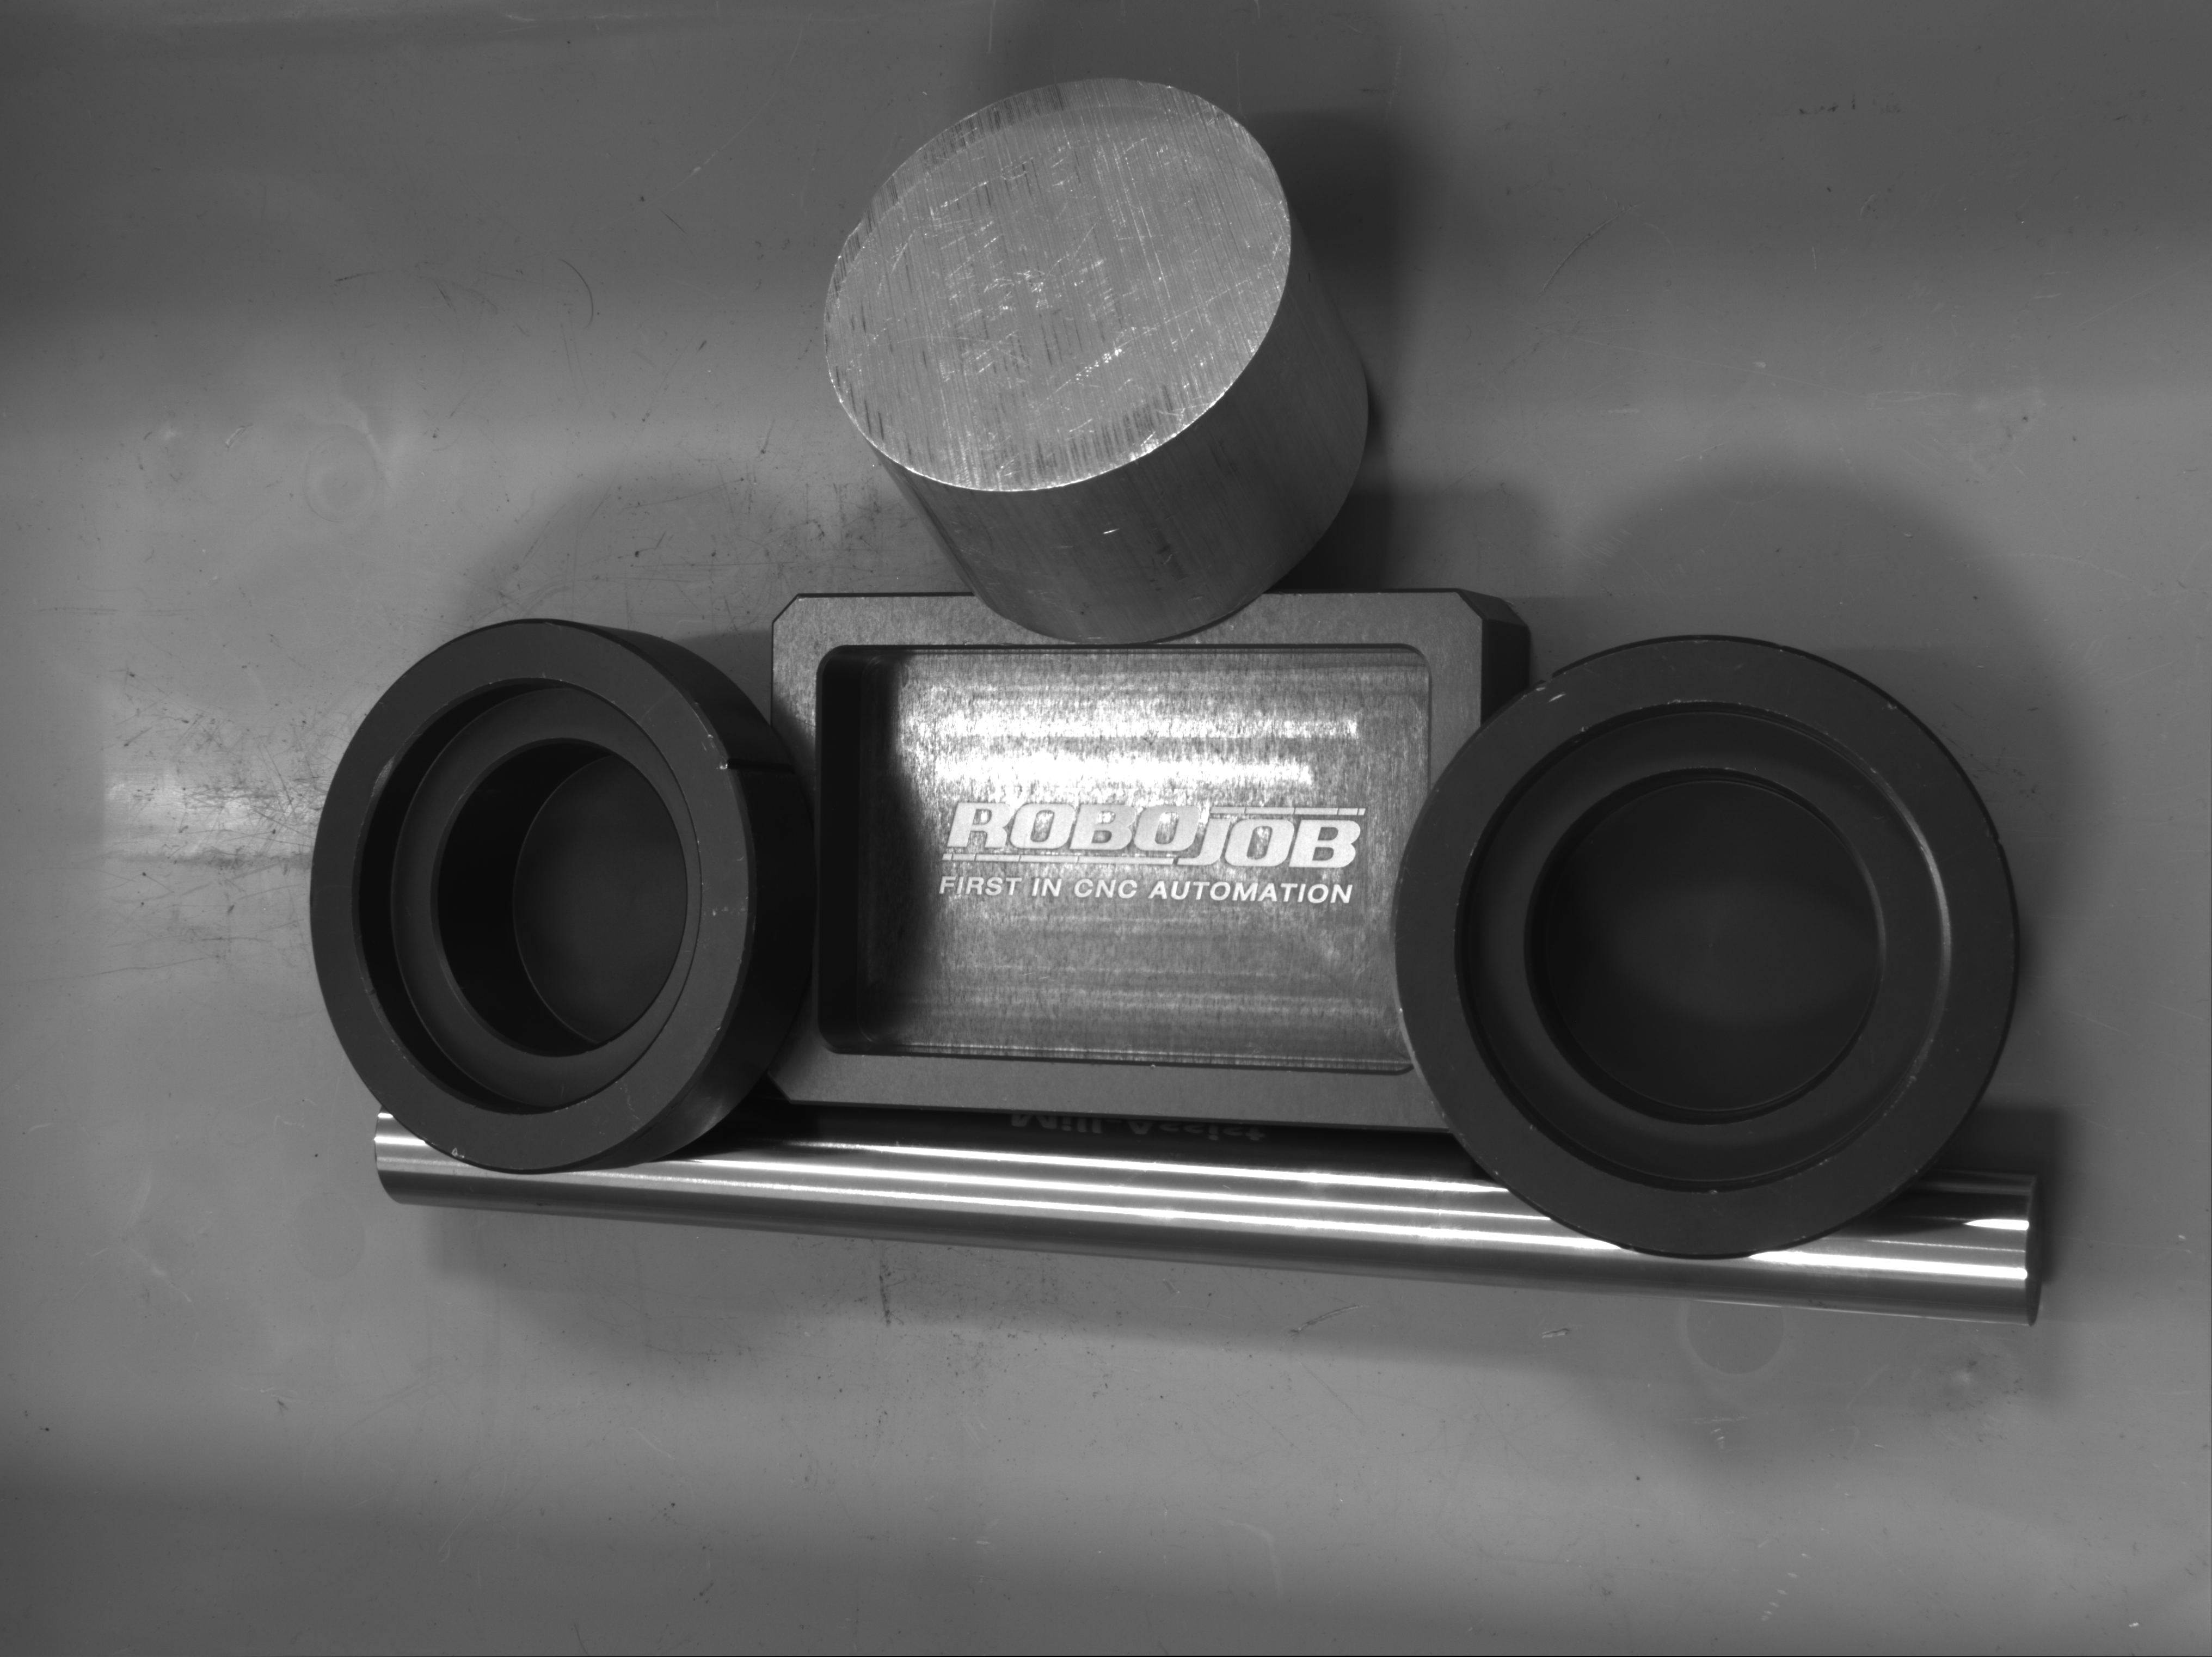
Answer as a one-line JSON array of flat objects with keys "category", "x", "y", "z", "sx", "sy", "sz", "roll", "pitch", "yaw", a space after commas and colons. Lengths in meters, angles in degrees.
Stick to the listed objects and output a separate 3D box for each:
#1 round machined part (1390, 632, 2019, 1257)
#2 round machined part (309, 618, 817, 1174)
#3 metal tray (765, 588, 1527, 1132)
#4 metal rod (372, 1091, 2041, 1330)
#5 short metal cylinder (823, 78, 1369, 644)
[{"category": "round machined part", "x": 0.097, "y": 0.019, "z": 0.595, "sx": 0.098, "sy": 0.042, "sz": 0.098, "roll": 0, "pitch": 88, "yaw": 12}, {"category": "round machined part", "x": -0.093, "y": 0.013, "z": 0.665, "sx": 0.098, "sy": 0.042, "sz": 0.098, "roll": -2, "pitch": 87, "yaw": 28}, {"category": "metal tray", "x": 0.006, "y": 0.004, "z": 0.640, "sx": 0.130, "sy": 0.030, "sz": 0.090, "roll": 1, "pitch": 91, "yaw": 20}, {"category": "metal rod", "x": 0.009, "y": 0.064, "z": 0.642, "sx": 0.299, "sy": 0.025, "sz": 0.025, "roll": 2, "pitch": 91, "yaw": 20}, {"category": "short metal cylinder", "x": -0.001, "y": -0.078, "z": 0.617, "sx": 0.080, "sy": 0.050, "sz": 0.080, "roll": -9, "pitch": 61, "yaw": 16}]
